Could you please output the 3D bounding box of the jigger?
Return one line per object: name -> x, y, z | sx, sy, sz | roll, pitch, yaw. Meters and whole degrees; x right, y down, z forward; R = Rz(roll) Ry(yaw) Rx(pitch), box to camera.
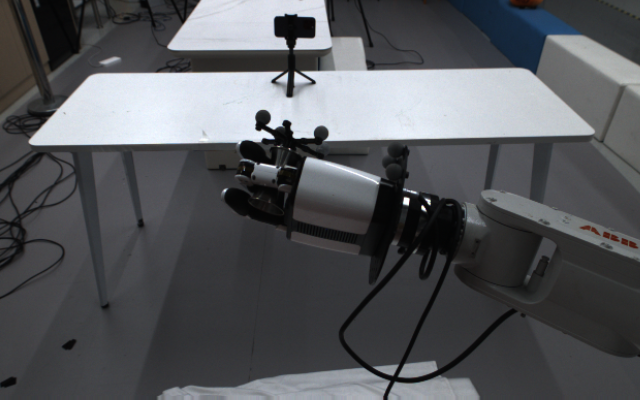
jigger -> -0.048, -0.023, 0.547 | 0.043, 0.043, 0.071 | 12, 70, 14
